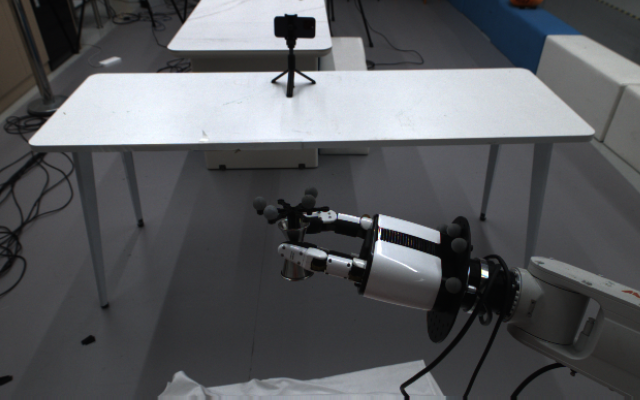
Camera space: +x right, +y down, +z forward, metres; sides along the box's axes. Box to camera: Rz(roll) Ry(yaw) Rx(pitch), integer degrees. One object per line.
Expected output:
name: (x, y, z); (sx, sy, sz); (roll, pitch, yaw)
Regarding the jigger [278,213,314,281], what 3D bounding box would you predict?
jigger: (-0.030, 0.061, 0.606); (0.043, 0.071, 0.043); (-2, 19, 1)
